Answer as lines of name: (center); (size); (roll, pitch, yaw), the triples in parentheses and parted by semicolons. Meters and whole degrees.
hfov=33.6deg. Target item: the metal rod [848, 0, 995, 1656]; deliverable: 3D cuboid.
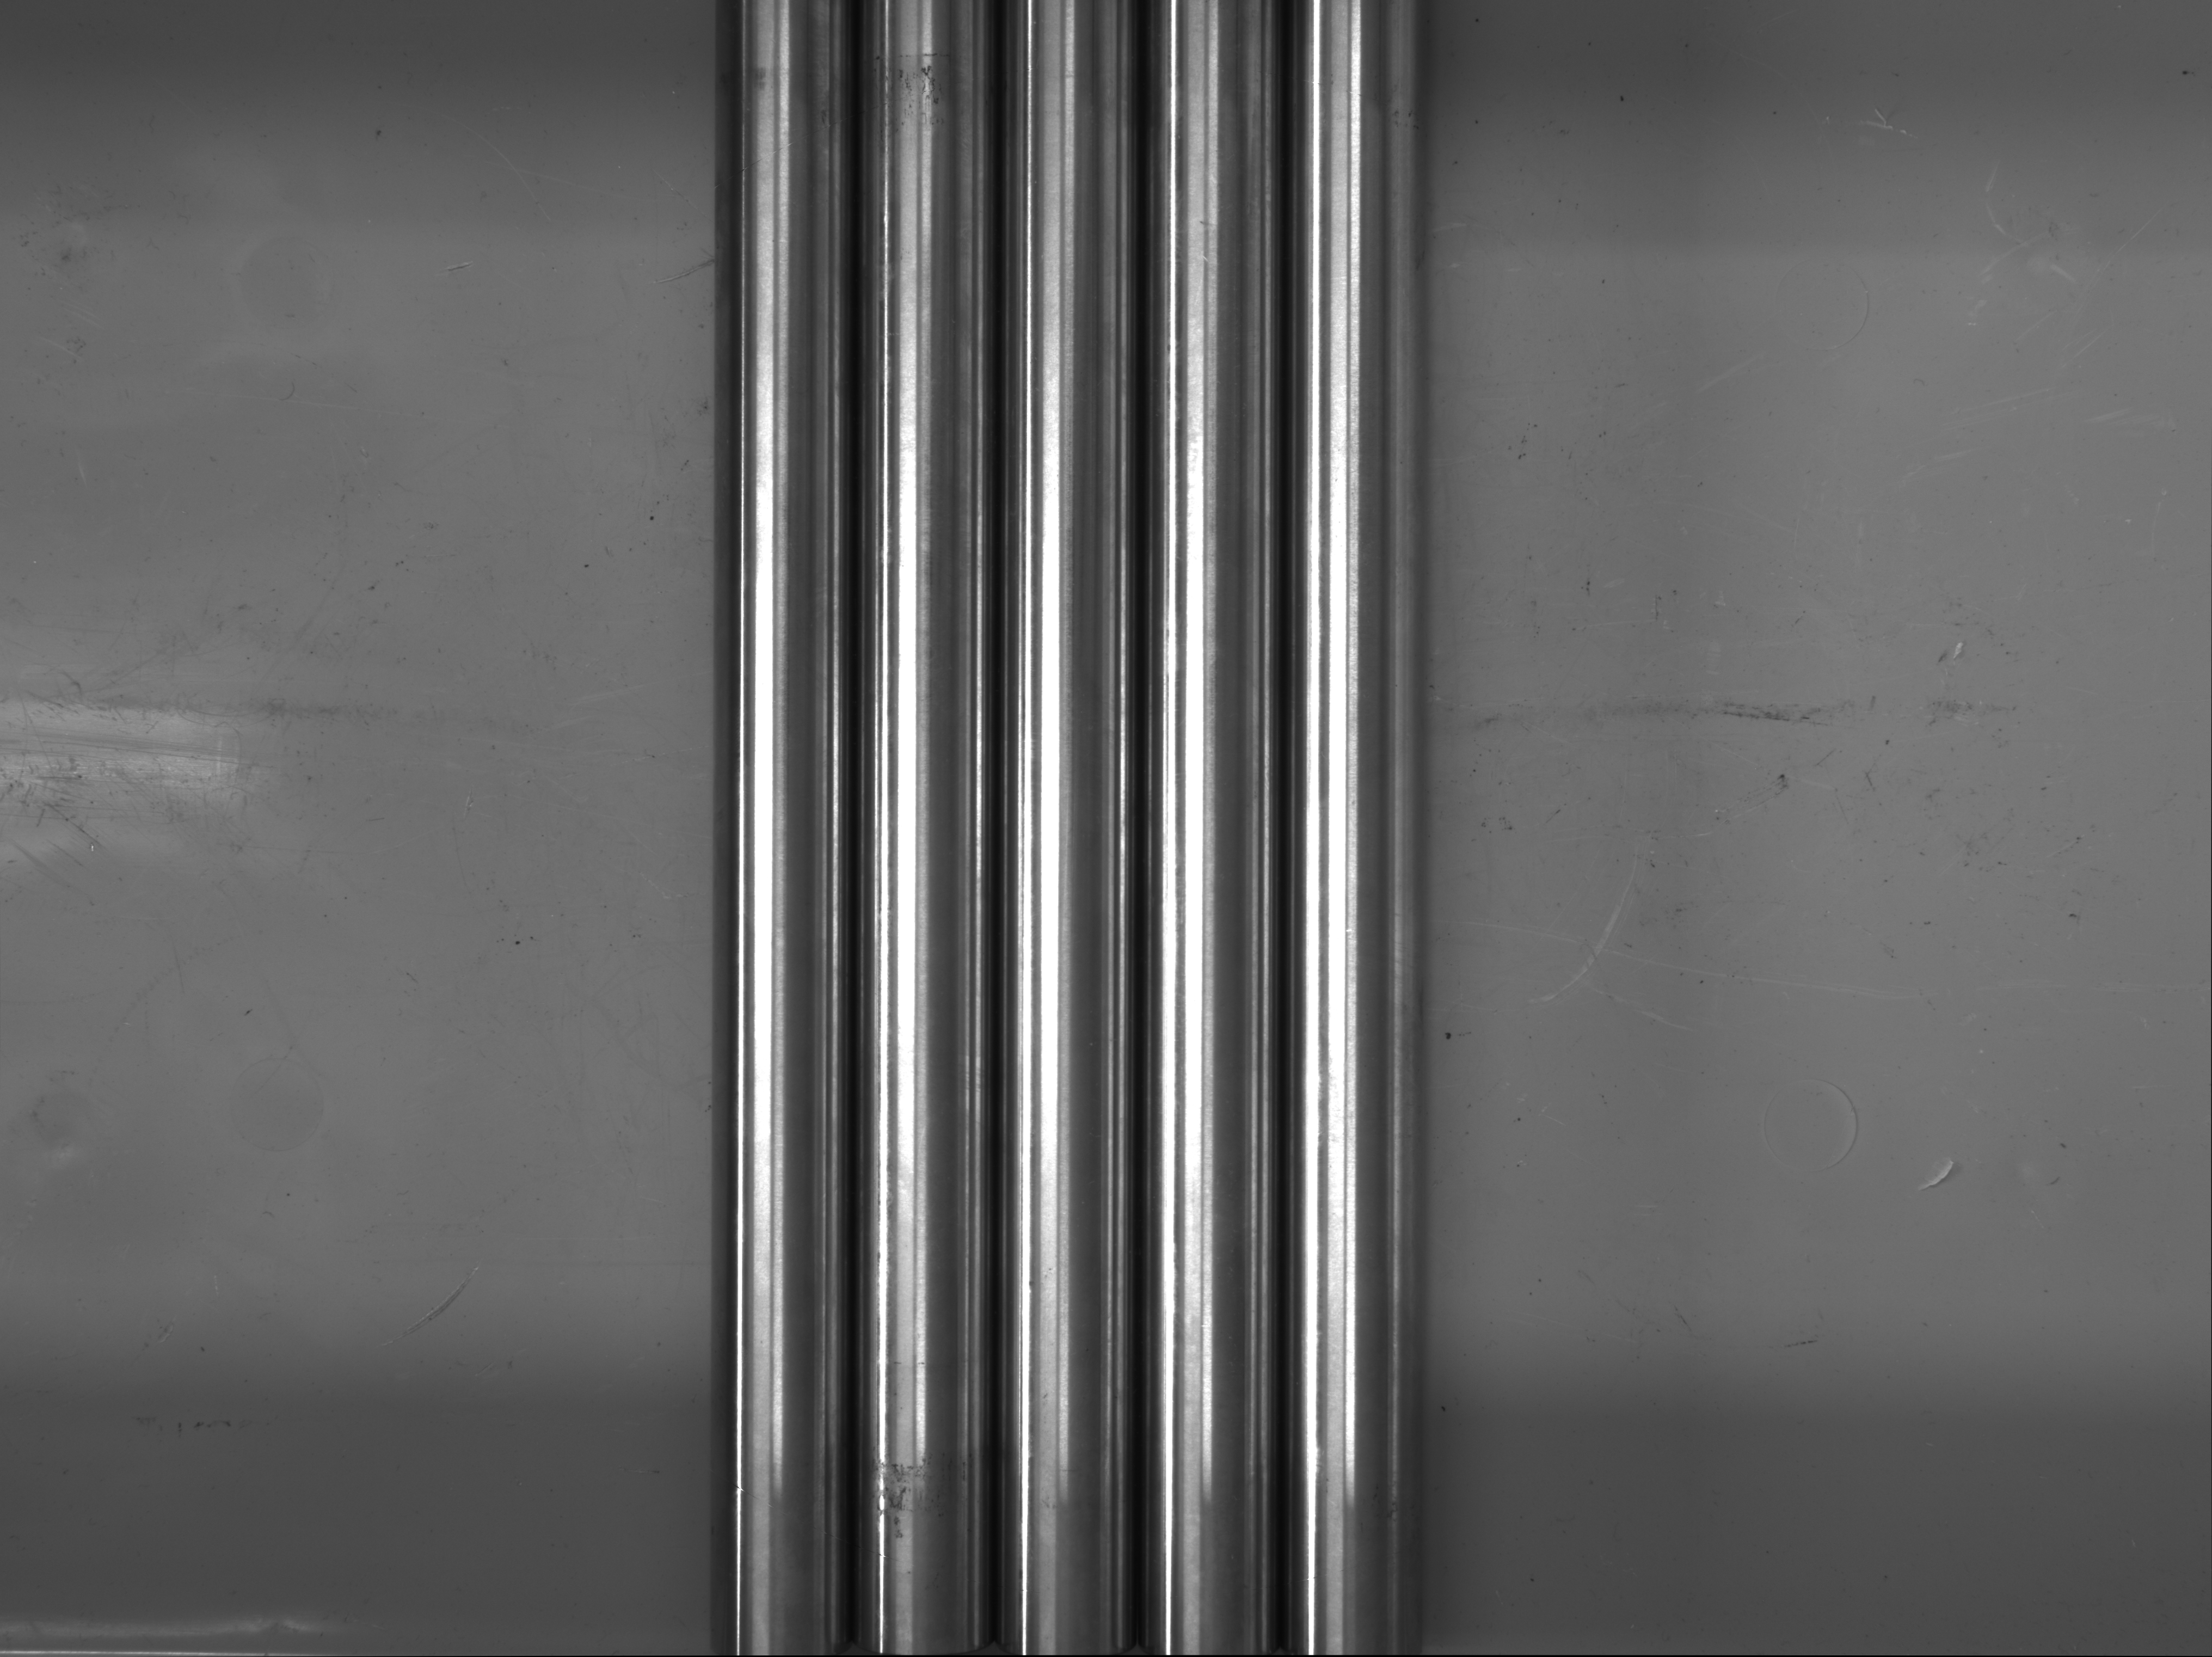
metal rod: (-0.032, -0.007, 0.644); (0.025, 0.025, 0.300); (0, 90, 0)

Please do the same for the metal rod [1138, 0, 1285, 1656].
metal rod: (0.019, -0.006, 0.644); (0.025, 0.025, 0.300); (0, 90, 0)

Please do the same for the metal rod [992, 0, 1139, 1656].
metal rod: (-0.007, -0.007, 0.644); (0.025, 0.025, 0.300); (0, 90, 0)

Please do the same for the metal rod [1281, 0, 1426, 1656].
metal rod: (0.044, -0.005, 0.644); (0.025, 0.025, 0.300); (0, 90, 0)

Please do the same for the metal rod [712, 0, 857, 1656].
metal rod: (-0.056, -0.006, 0.644); (0.025, 0.025, 0.300); (0, 90, 0)
